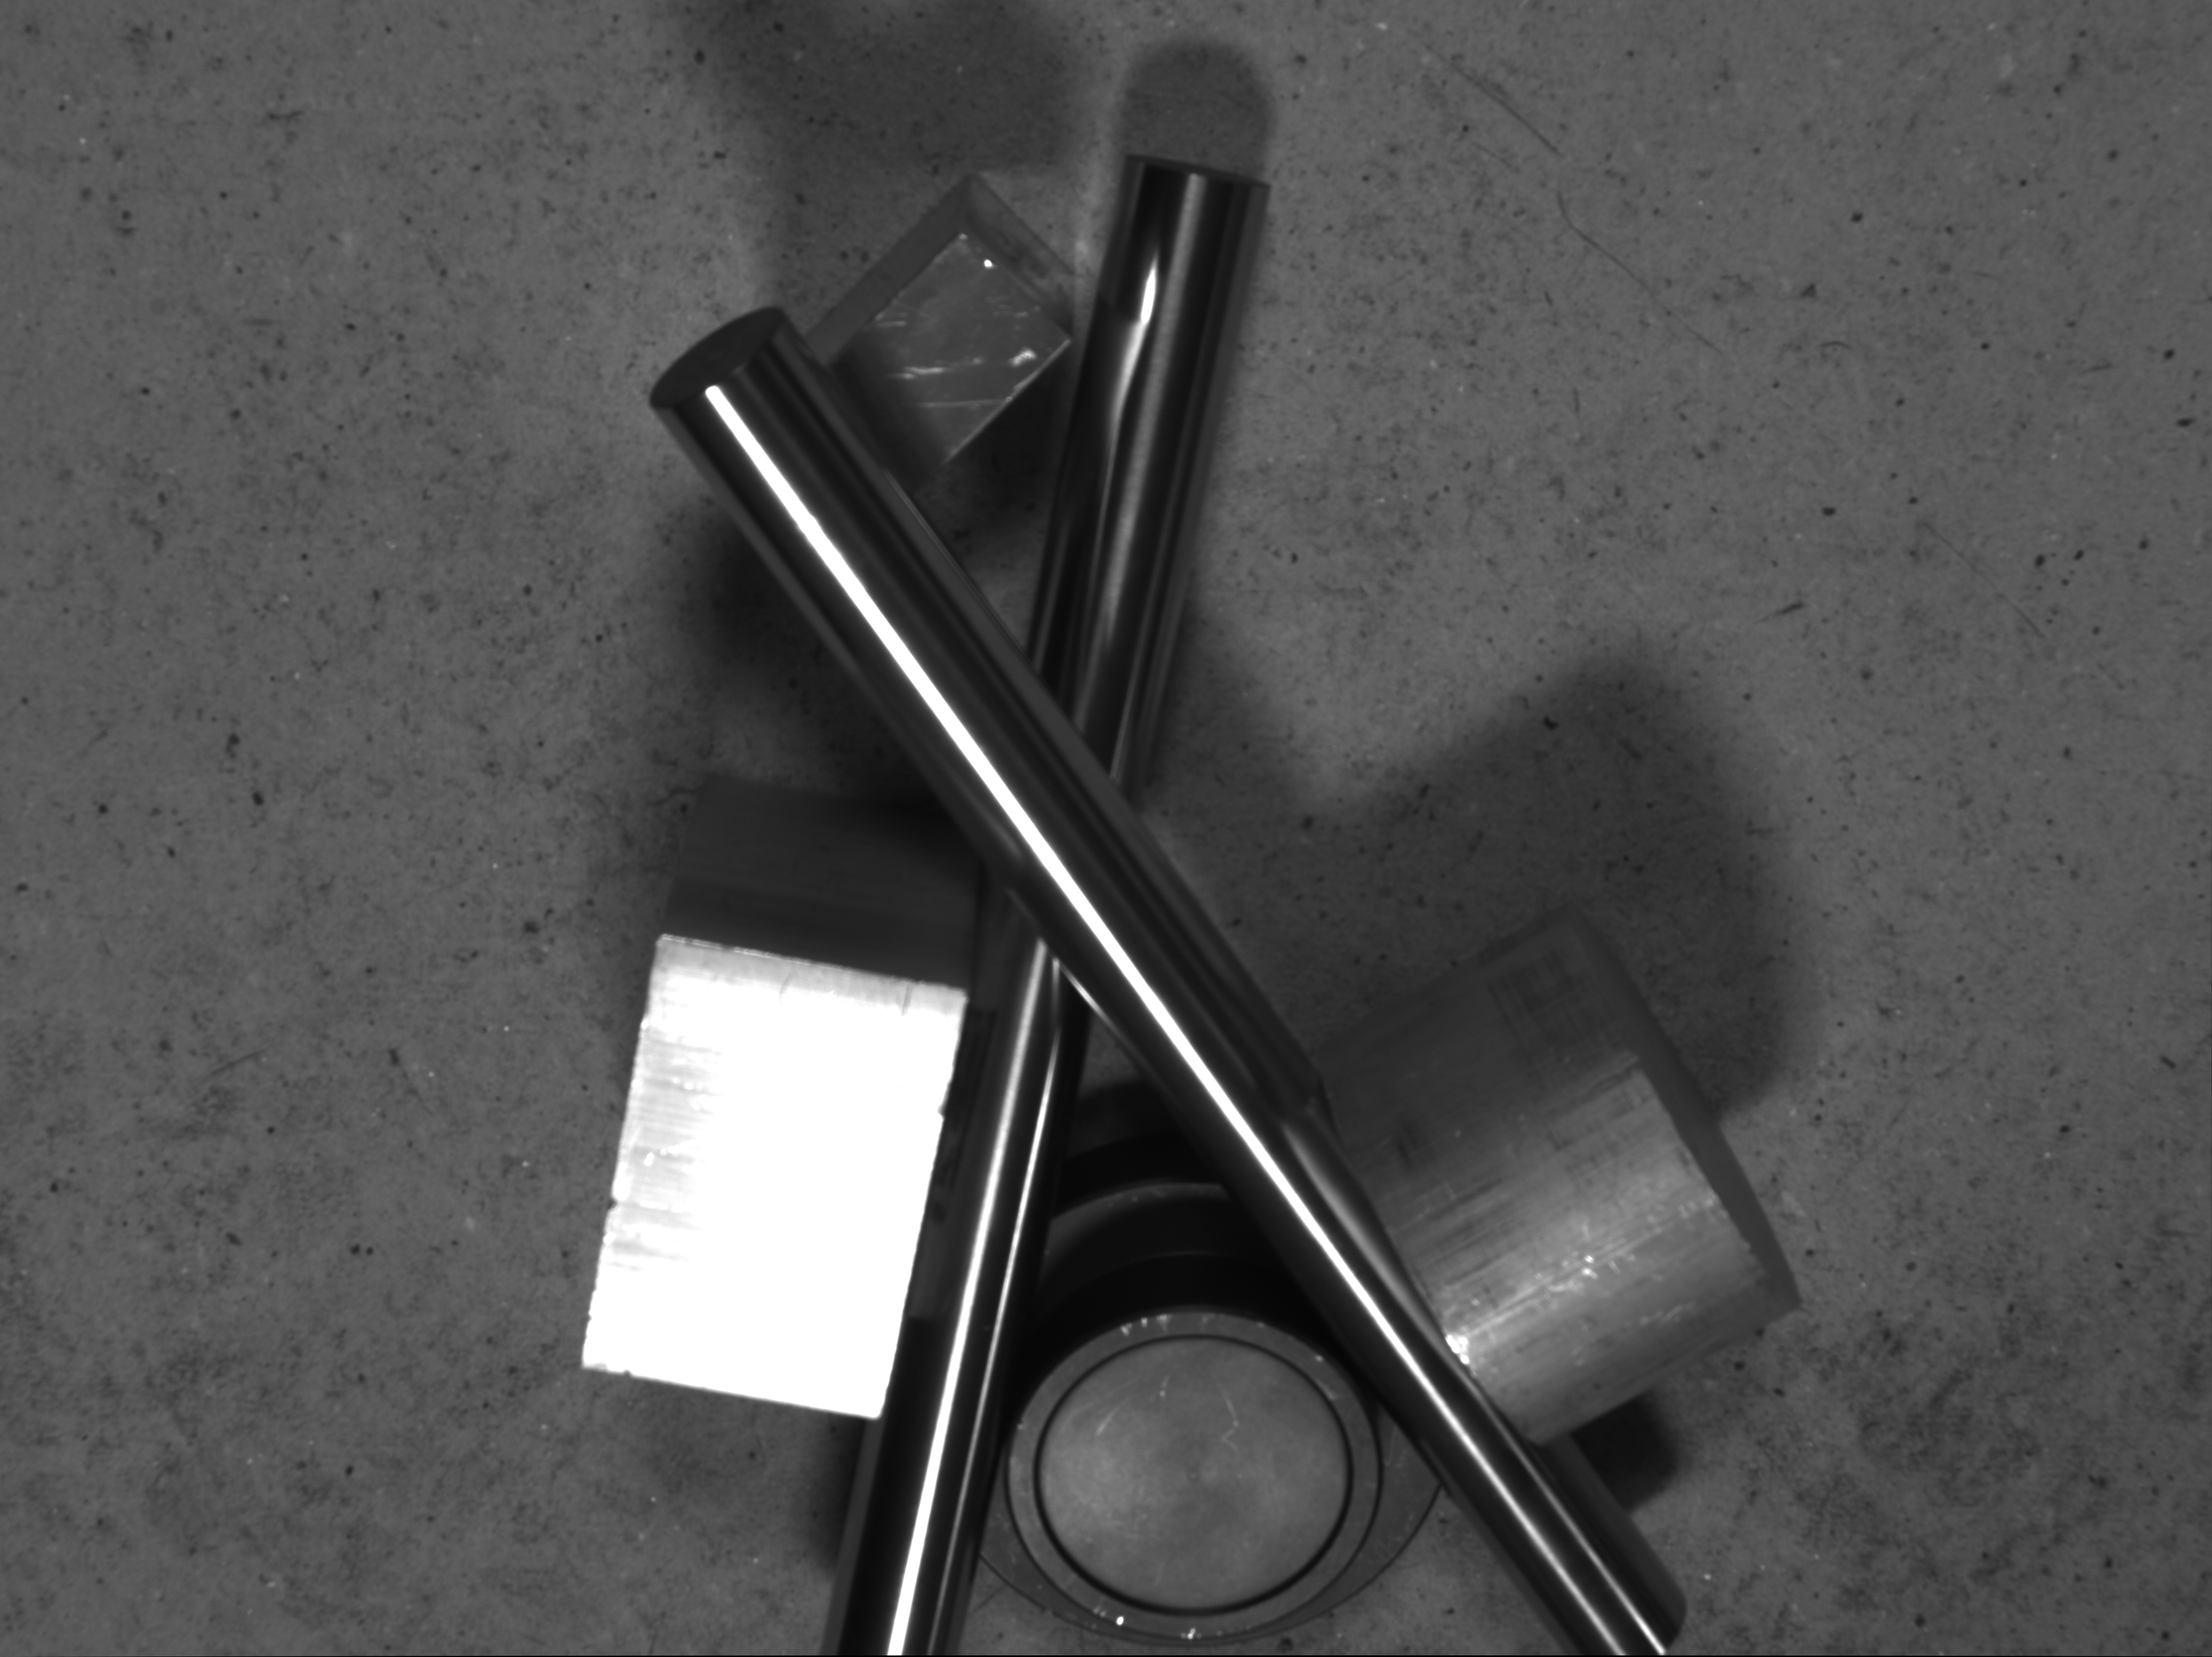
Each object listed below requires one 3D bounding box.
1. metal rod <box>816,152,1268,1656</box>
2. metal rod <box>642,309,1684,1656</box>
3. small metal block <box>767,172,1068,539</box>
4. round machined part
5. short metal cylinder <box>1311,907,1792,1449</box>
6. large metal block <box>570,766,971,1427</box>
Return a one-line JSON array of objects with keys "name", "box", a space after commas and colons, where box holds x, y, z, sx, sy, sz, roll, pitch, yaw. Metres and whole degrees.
[{"name": "metal rod", "box": [-0.016, 0.034, 0.639, 0.025, 0.025, 0.300, 11, 103, -4]}, {"name": "metal rod", "box": [0.019, 0.039, 0.621, 0.025, 0.025, 0.301, -31, 116, 10]}, {"name": "small metal block", "box": [-0.033, -0.077, 0.601, 0.050, 0.050, 0.025, -43, 105, 14]}, {"name": "round machined part", "box": [0.015, 0.109, 0.675, 0.098, 0.042, 0.098, 0, 110, -1]}, {"name": "short metal cylinder", "box": [0.078, 0.060, 0.637, 0.050, 0.080, 0.080, -30, 107, 10]}, {"name": "large metal block", "box": [-0.056, 0.044, 0.630, 0.050, 0.080, 0.080, 11, 109, -4]}]
